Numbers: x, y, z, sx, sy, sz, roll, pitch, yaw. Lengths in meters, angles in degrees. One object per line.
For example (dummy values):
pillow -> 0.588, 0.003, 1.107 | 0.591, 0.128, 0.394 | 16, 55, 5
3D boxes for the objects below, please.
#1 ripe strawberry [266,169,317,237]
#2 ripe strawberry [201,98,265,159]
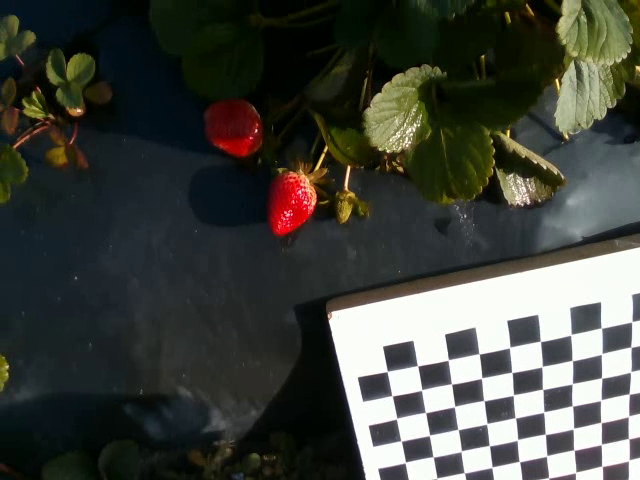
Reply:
ripe strawberry -> -0.024, -0.026, 0.466 | 0.043, 0.053, 0.038 | 30, -24, -15
ripe strawberry -> -0.064, -0.083, 0.478 | 0.054, 0.048, 0.039 | -5, 23, -28
